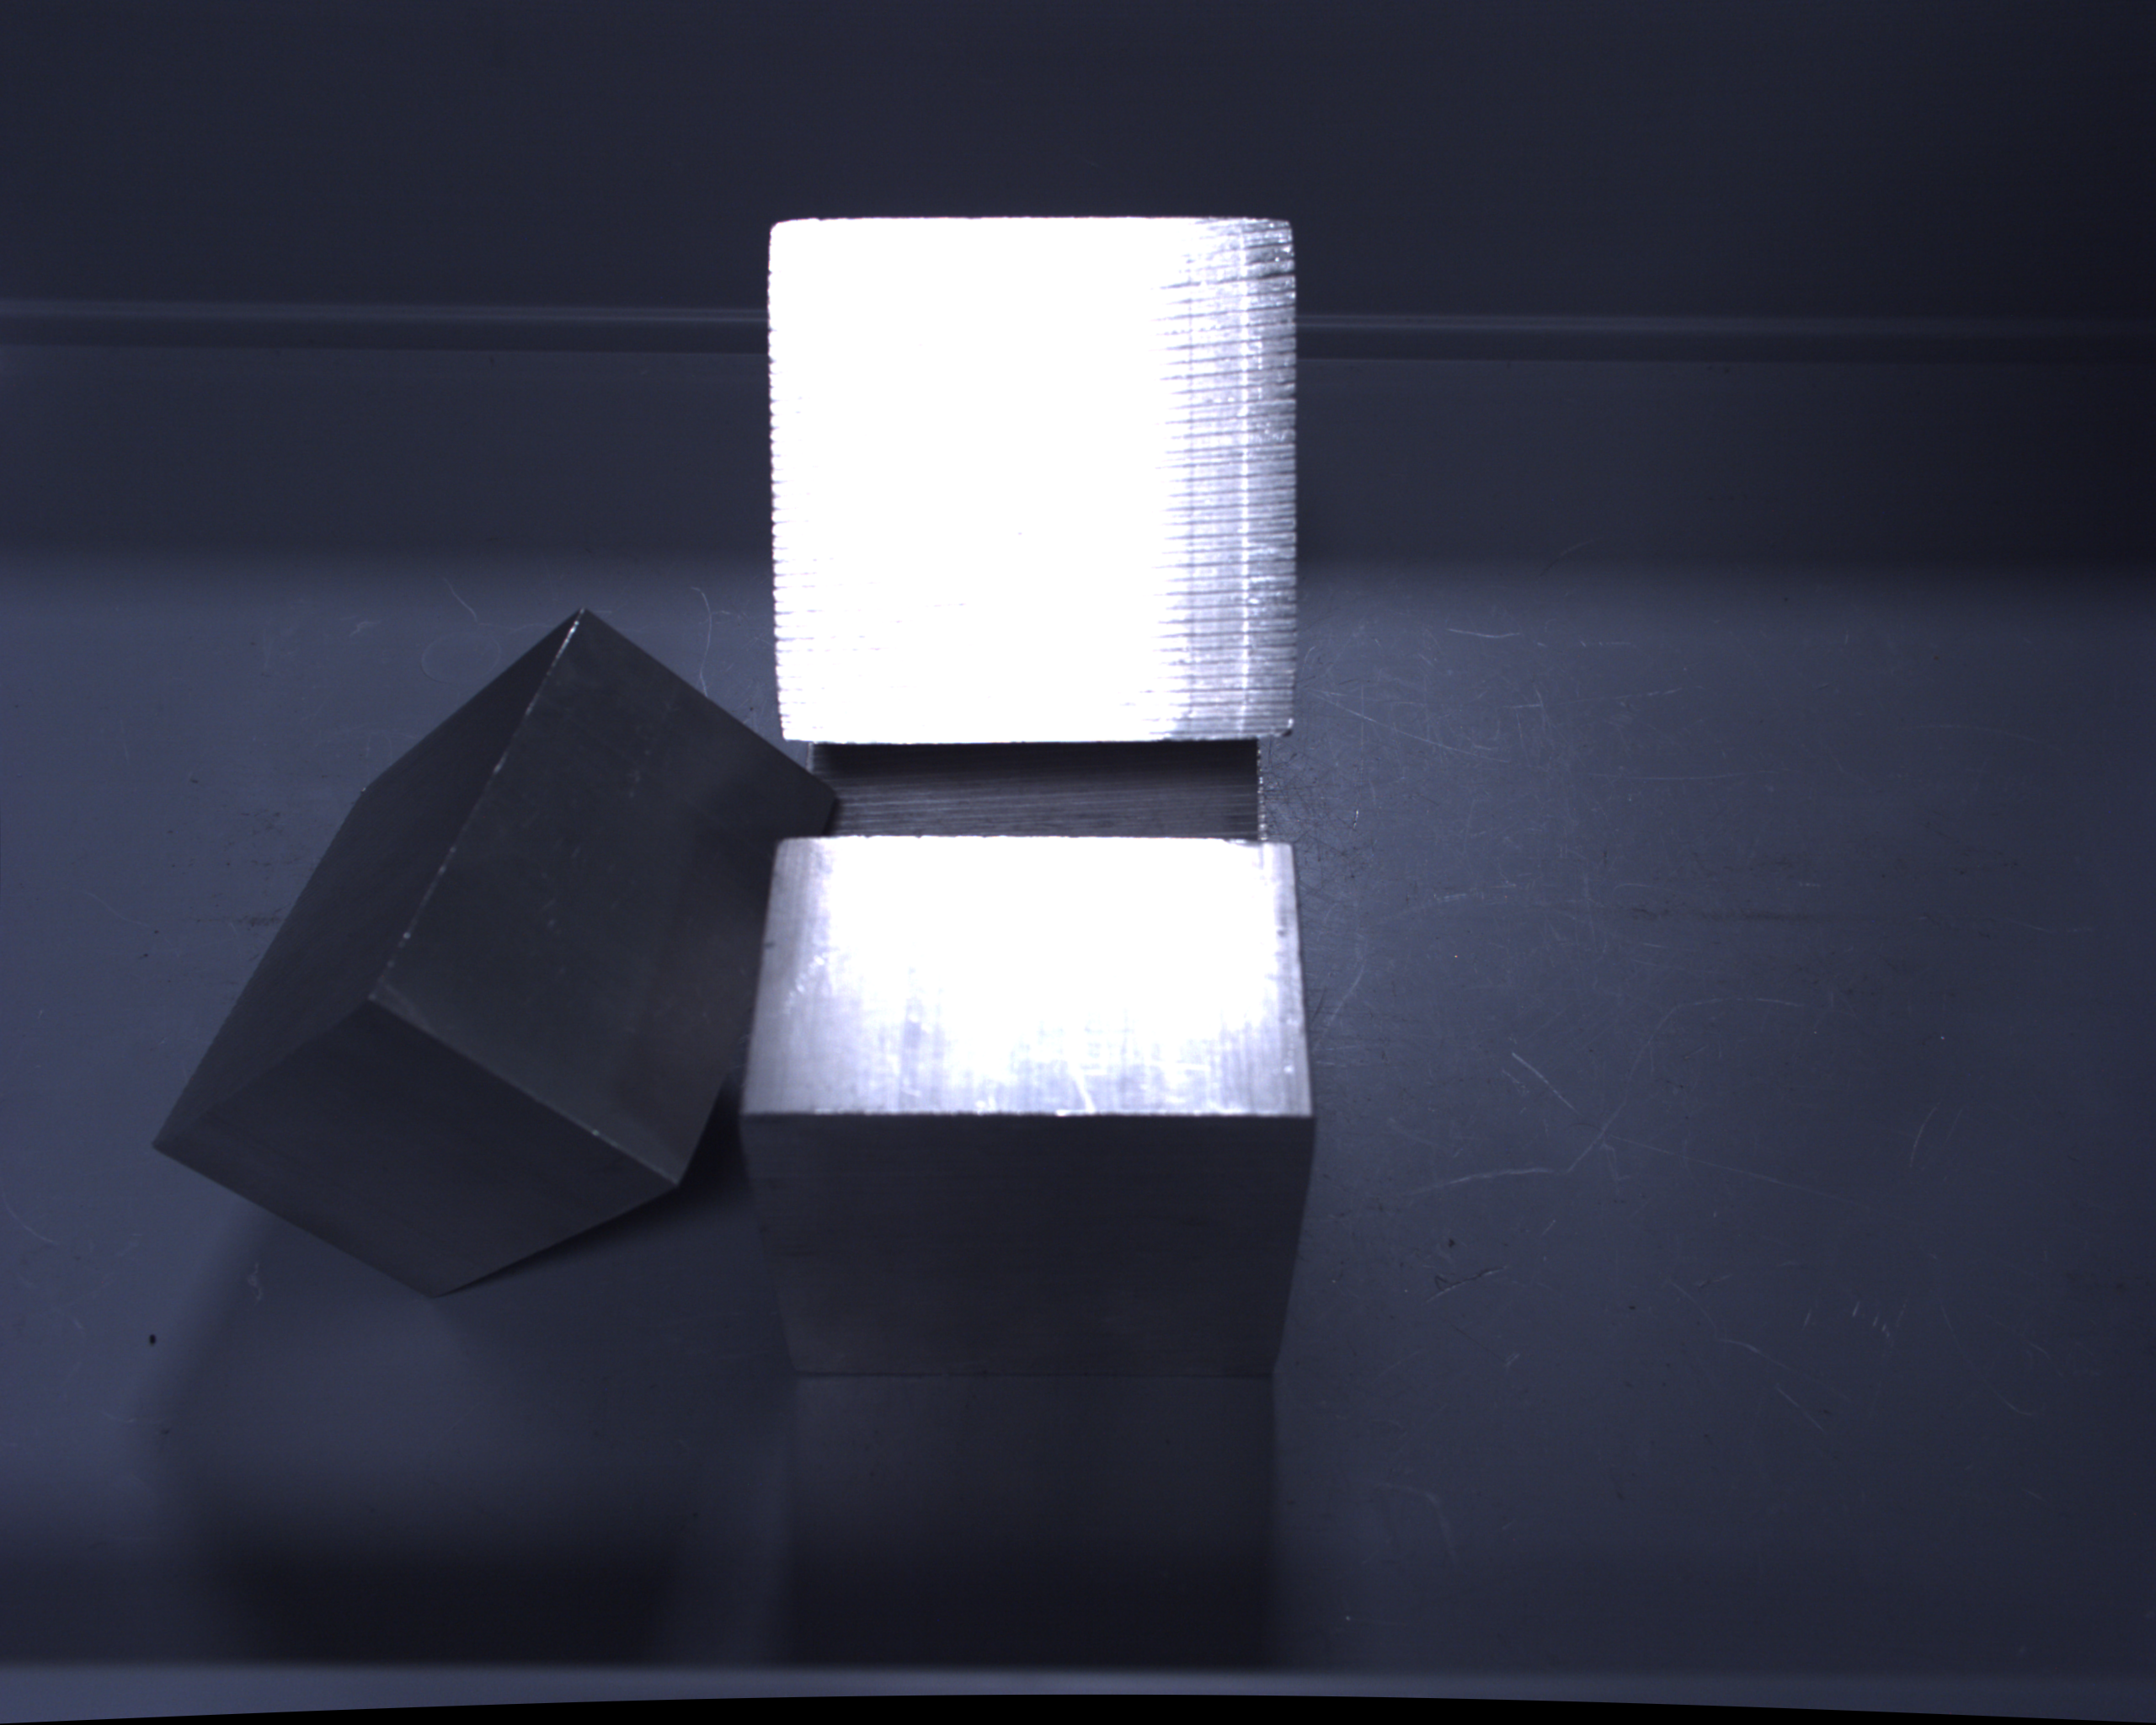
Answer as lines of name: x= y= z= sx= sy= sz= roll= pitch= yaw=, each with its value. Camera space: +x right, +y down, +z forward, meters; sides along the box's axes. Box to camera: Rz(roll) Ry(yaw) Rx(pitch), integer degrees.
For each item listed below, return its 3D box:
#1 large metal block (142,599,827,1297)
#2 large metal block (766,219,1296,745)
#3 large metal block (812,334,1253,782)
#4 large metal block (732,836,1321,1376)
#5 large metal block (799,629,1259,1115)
large metal block: x=-0.096 y=0.016 z=0.342 sx=0.050 sy=0.080 sz=0.080 roll=38 pitch=46 yaw=-25
large metal block: x=-0.007 y=-0.061 z=0.345 sx=0.081 sy=0.079 sz=0.050 roll=-1 pitch=5 yaw=-1
large metal block: x=-0.009 y=-0.060 z=0.417 sx=0.081 sy=0.080 sz=0.050 roll=-1 pitch=50 yaw=-1
large metal block: x=-0.007 y=0.041 z=0.332 sx=0.081 sy=0.080 sz=0.050 roll=0 pitch=50 yaw=0
large metal block: x=-0.009 y=0.001 z=0.388 sx=0.081 sy=0.050 sz=0.080 roll=0 pitch=50 yaw=-1
